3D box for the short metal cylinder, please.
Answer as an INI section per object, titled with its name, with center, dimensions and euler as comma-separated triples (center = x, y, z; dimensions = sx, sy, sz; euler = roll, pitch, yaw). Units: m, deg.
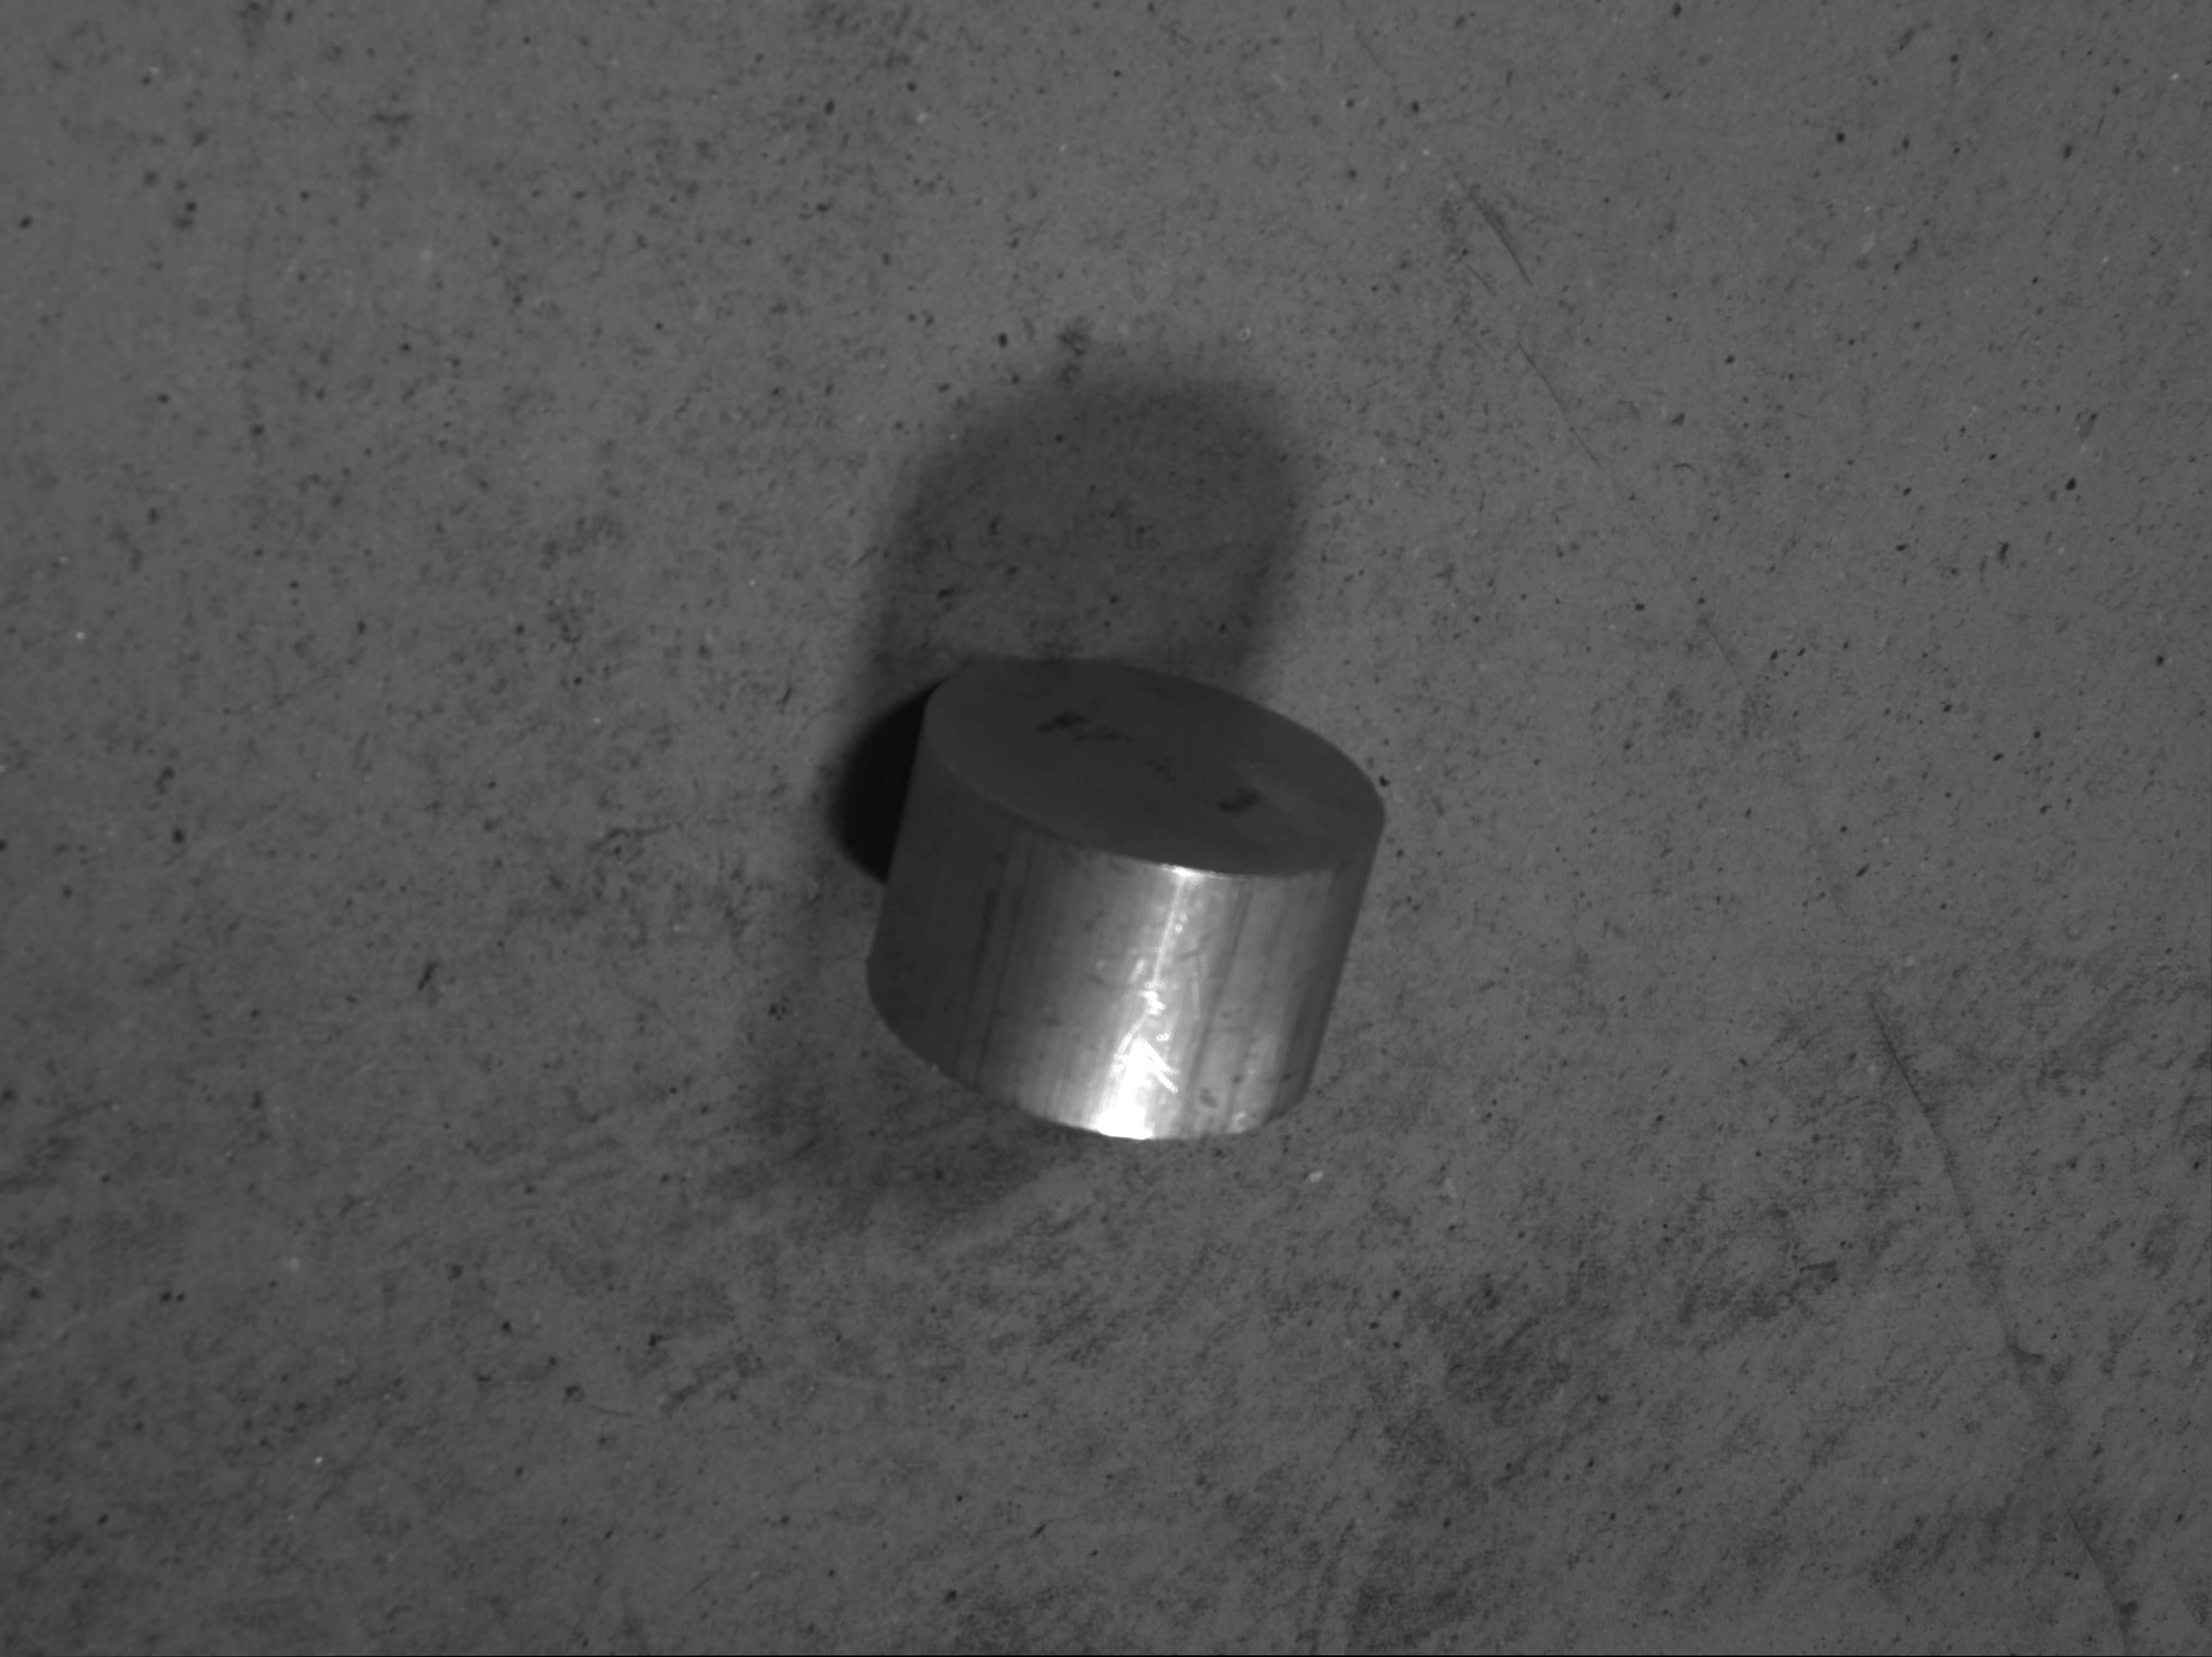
[short metal cylinder]
center = 0.010, 0.011, 0.628
dimensions = 0.080, 0.080, 0.050
euler = -1, 119, -30
